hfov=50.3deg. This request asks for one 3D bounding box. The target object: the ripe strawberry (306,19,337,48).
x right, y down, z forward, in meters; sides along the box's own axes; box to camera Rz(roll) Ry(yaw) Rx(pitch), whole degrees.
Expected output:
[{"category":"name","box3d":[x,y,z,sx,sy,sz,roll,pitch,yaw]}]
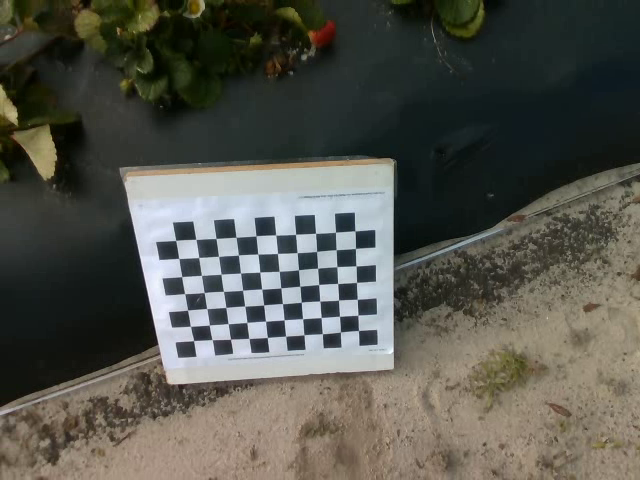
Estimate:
[{"category":"ripe strawberry","box3d":[0.001,-0.158,0.509,0.027,0.022,0.021,-23,33,18]}]
